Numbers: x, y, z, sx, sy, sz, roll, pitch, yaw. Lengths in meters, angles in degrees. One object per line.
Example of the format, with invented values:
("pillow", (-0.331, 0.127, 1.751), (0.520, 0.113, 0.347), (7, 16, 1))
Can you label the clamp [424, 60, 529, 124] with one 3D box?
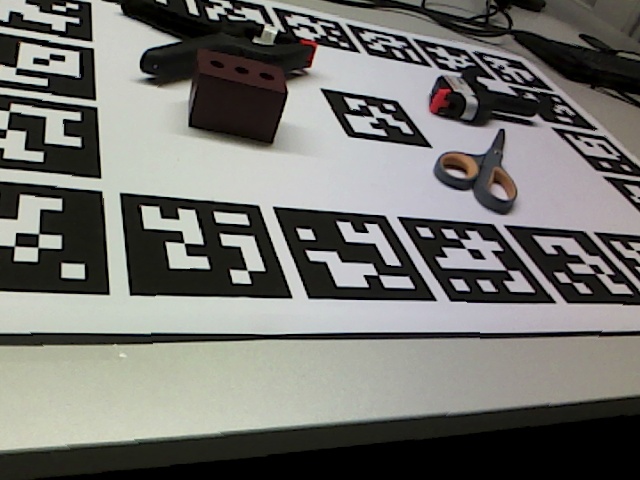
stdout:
("clamp", (0.188, -0.185, 0.795), (0.164, 0.036, 0.122), (-23, 62, -43))

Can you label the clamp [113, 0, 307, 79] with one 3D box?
("clamp", (-0.108, -0.207, 0.664), (0.201, 0.036, 0.166), (0, 39, -28))

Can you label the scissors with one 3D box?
("scissors", (0.173, -0.088, 0.670), (0.088, 0.016, 0.202), (33, 36, 2))

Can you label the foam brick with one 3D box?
("foam brick", (-0.082, -0.120, 0.560), (0.078, 0.051, 0.053), (5, 41, -15))
